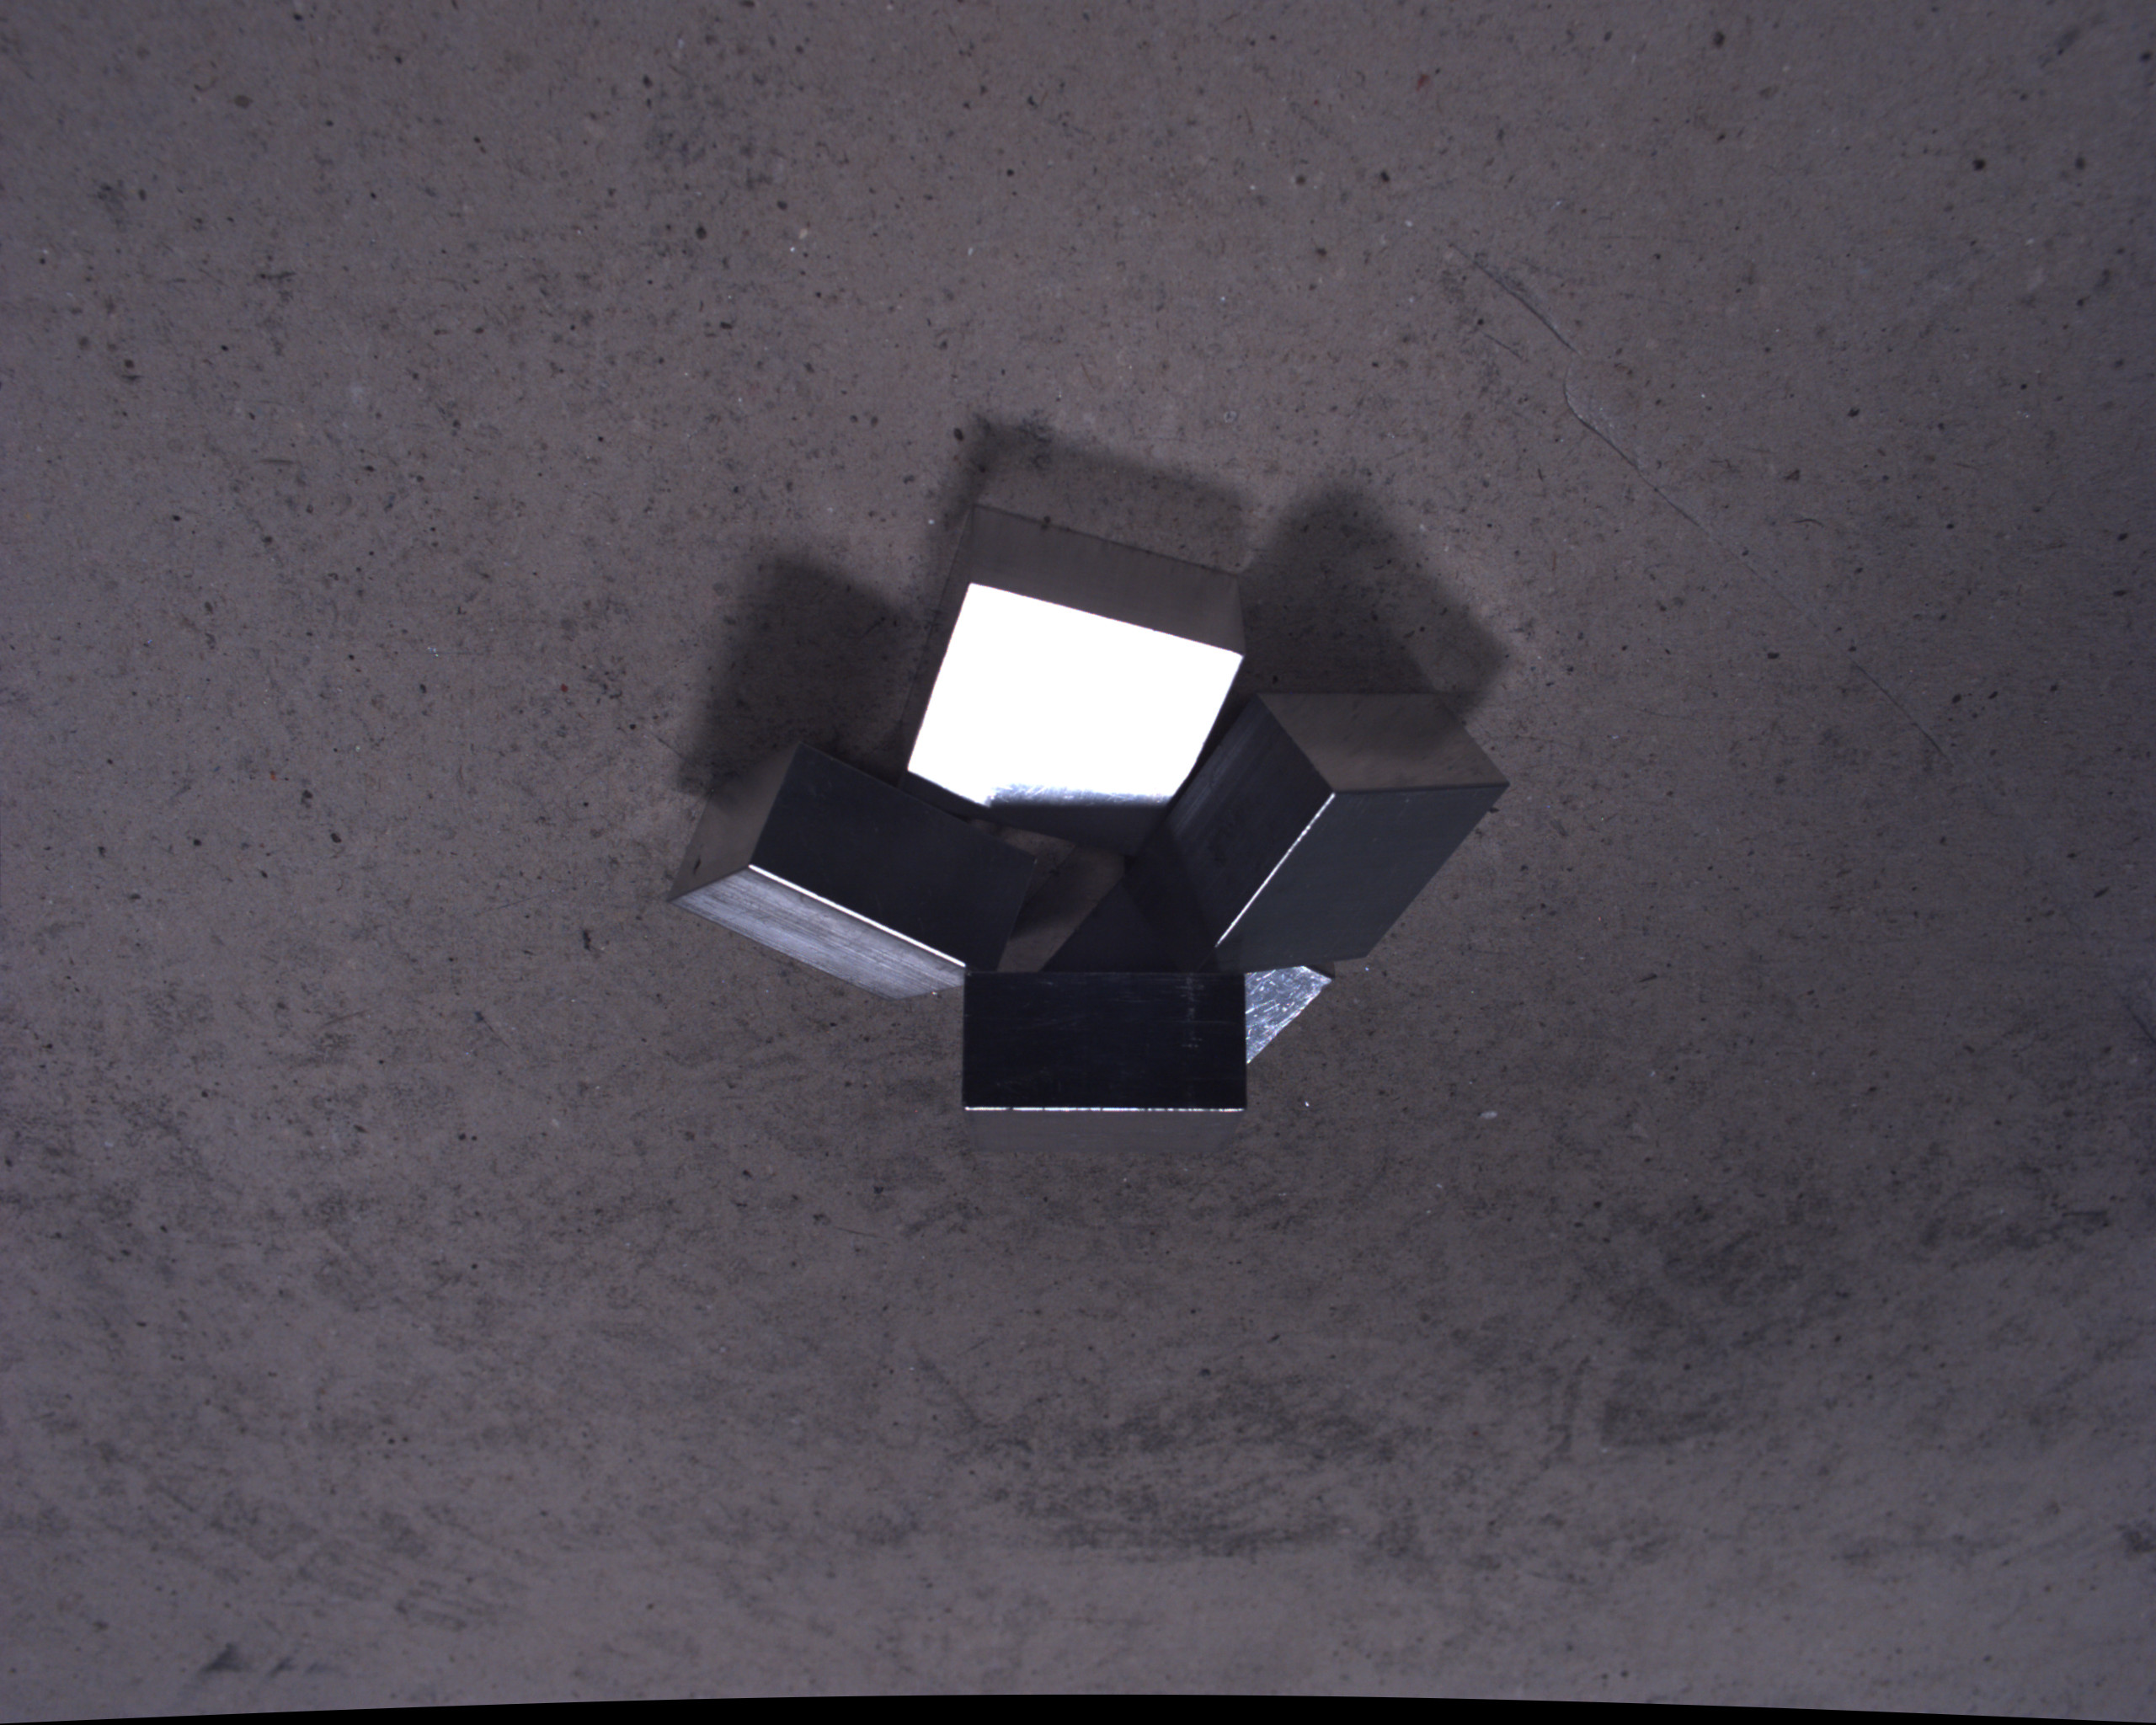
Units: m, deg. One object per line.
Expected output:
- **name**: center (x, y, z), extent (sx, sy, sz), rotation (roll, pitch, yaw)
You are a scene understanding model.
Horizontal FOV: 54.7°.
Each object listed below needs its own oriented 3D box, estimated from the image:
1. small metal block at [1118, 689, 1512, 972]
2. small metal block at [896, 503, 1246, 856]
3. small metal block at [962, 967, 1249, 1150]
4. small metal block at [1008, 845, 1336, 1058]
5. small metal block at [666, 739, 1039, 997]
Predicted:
- **small metal block**: center (0.044, -0.006, 0.390), extent (0.050, 0.025, 0.050), rotation (-5, 141, -43)
- **small metal block**: center (-0.003, -0.032, 0.382), extent (0.050, 0.025, 0.050), rotation (13, 129, -12)
- **small metal block**: center (0.005, 0.038, 0.393), extent (0.050, 0.025, 0.050), rotation (0, 163, -1)
- **small metal block**: center (0.016, 0.020, 0.427), extent (0.050, 0.025, 0.050), rotation (26, 125, -21)
- **small metal block**: center (-0.044, 0.003, 0.395), extent (0.050, 0.025, 0.050), rotation (26, 161, -22)
